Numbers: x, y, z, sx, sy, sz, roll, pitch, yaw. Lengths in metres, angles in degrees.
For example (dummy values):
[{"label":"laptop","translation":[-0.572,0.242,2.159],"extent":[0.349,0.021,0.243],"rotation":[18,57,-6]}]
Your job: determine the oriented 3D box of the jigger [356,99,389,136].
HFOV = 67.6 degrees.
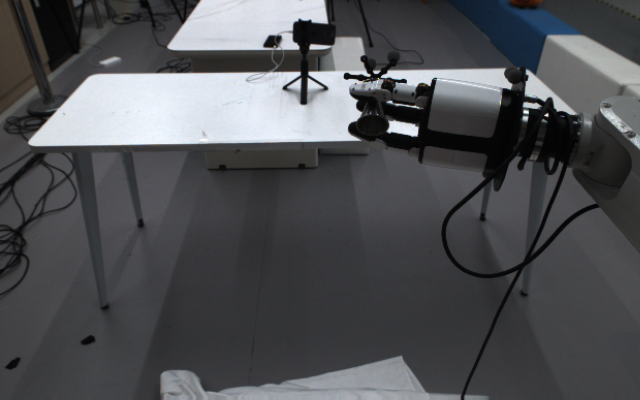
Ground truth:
[{"label":"jigger","translation":[0.072,-0.128,0.661],"extent":[0.043,0.043,0.071],"rotation":[4,61,3]}]
